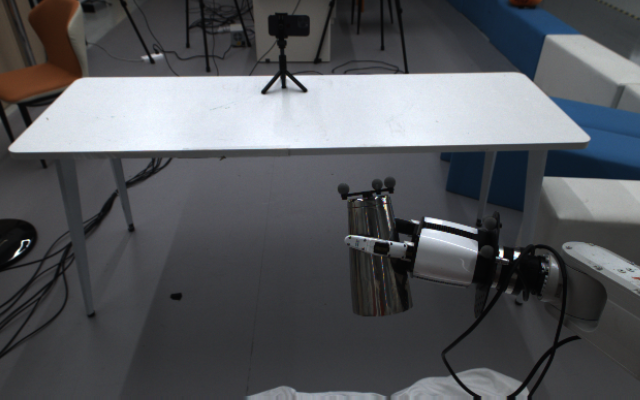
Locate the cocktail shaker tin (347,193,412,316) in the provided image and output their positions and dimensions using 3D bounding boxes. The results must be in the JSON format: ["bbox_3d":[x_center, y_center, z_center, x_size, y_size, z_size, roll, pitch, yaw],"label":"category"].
[{"bbox_3d":[0.085,0.080,0.736,0.093,0.170,0.093,-8,1,0],"label":"cocktail shaker tin"}]
